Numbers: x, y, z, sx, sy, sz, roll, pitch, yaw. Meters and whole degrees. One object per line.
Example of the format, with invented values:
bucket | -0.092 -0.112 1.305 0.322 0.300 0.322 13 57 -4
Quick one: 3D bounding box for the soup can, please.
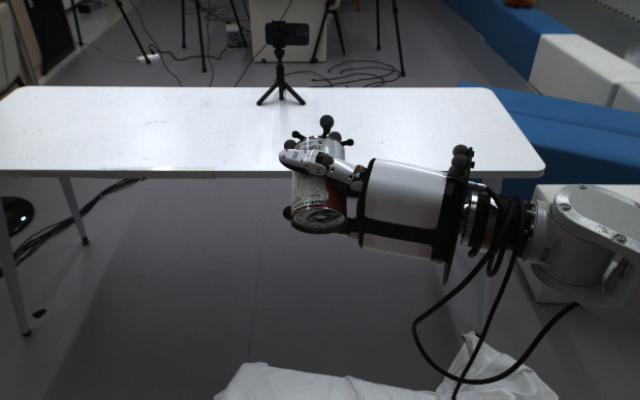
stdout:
soup can | 0.000 -0.019 0.589 0.067 0.067 0.101 0 62 -2
